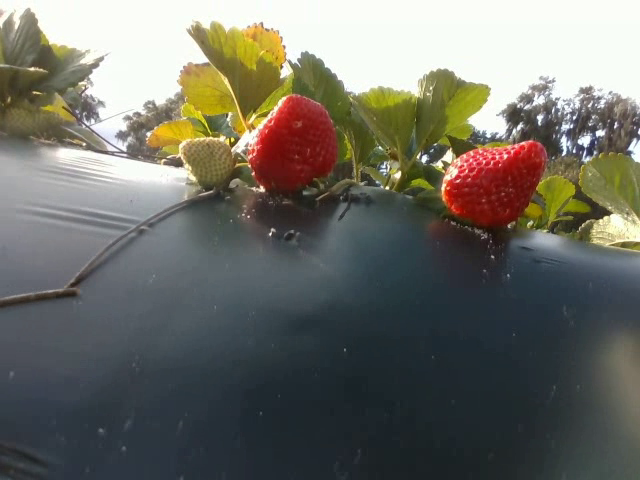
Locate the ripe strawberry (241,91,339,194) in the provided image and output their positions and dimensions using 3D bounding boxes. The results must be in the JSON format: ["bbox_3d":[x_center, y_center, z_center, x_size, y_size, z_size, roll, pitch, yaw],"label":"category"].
[{"bbox_3d":[-0.009,-0.038,0.201,0.035,0.041,0.036,-2,-24,4],"label":"ripe strawberry"}]

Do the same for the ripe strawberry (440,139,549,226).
[{"bbox_3d":[0.059,-0.024,0.190,0.033,0.038,0.039,31,-32,5],"label":"ripe strawberry"}]
